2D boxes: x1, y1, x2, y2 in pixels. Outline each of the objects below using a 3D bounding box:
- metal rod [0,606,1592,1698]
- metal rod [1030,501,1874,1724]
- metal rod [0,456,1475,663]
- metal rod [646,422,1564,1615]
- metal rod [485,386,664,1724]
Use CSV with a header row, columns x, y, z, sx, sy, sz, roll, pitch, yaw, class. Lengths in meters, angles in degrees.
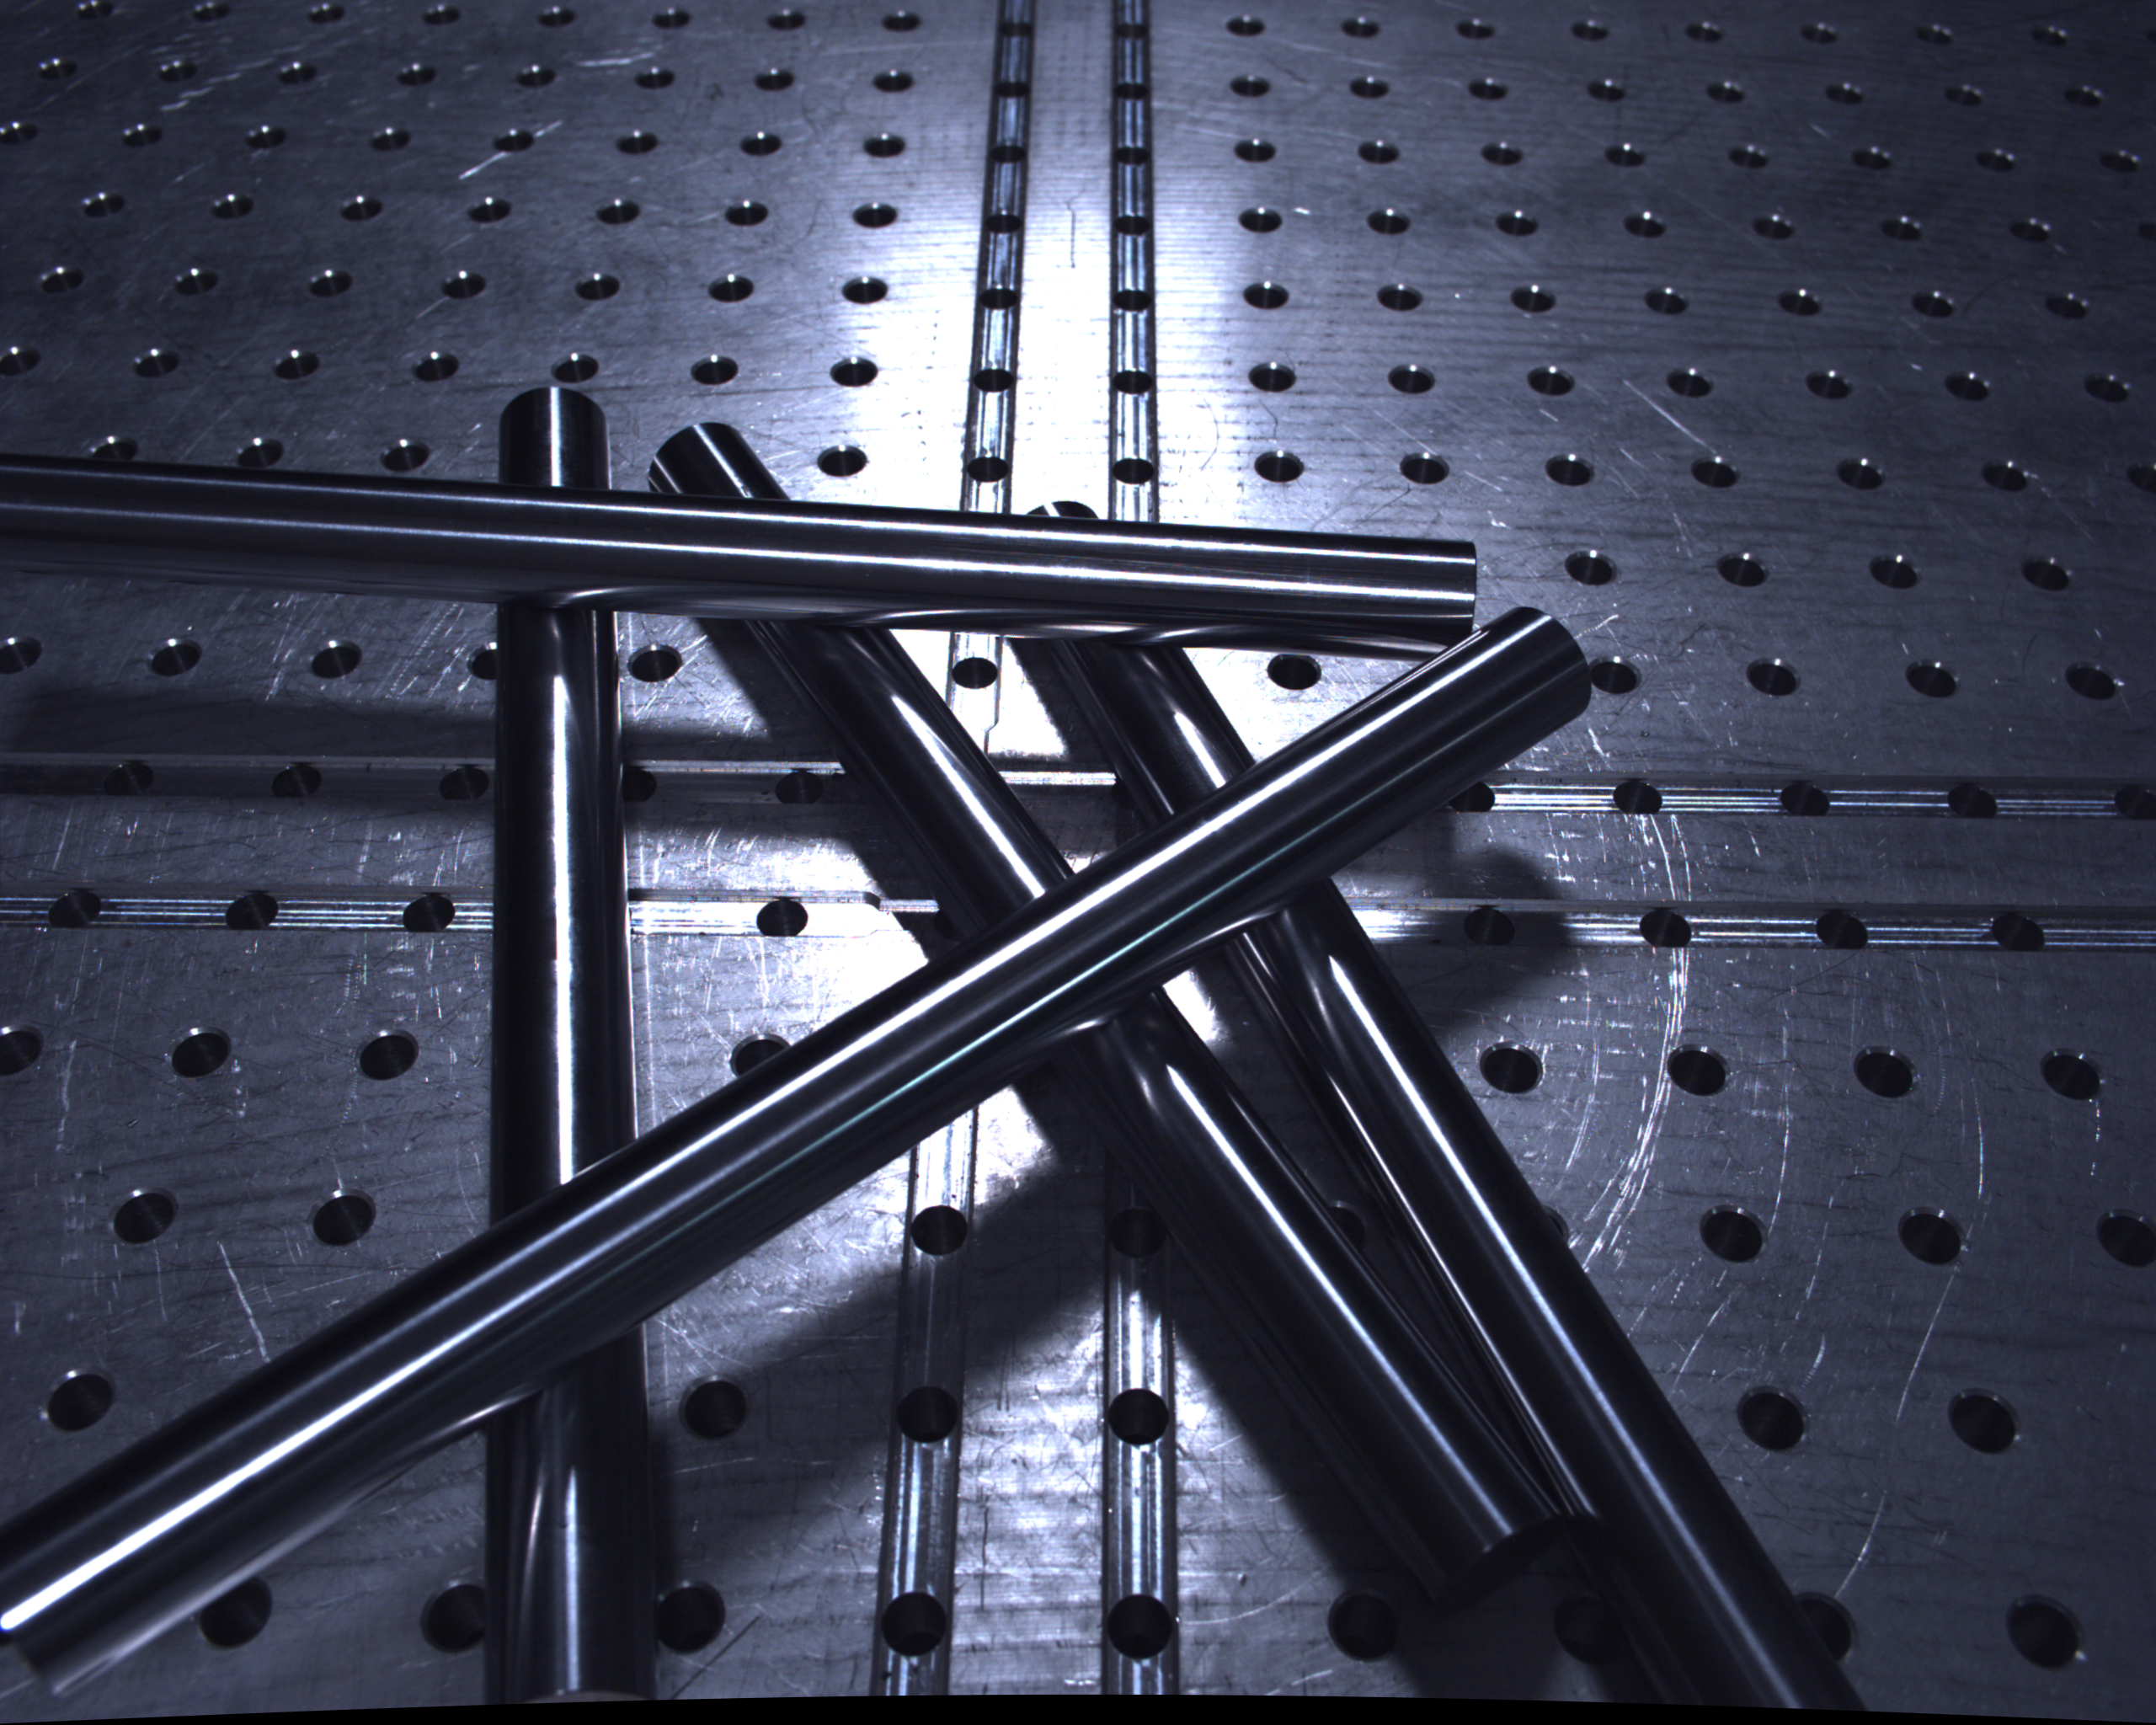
x,y,z,sx,sy,sz,roll,pitch,yaw,class
-0.027,0.032,0.347,0.302,0.025,0.025,-31,57,-24,metal rod
0.051,0.035,0.378,0.025,0.025,0.300,-18,52,-15,metal rod
-0.072,-0.062,0.426,0.302,0.025,0.025,4,50,2,metal rod
-0.012,0.008,0.400,0.025,0.025,0.300,-24,54,-19,metal rod
-0.098,0.011,0.396,0.025,0.025,0.300,-7,50,-7,metal rod
